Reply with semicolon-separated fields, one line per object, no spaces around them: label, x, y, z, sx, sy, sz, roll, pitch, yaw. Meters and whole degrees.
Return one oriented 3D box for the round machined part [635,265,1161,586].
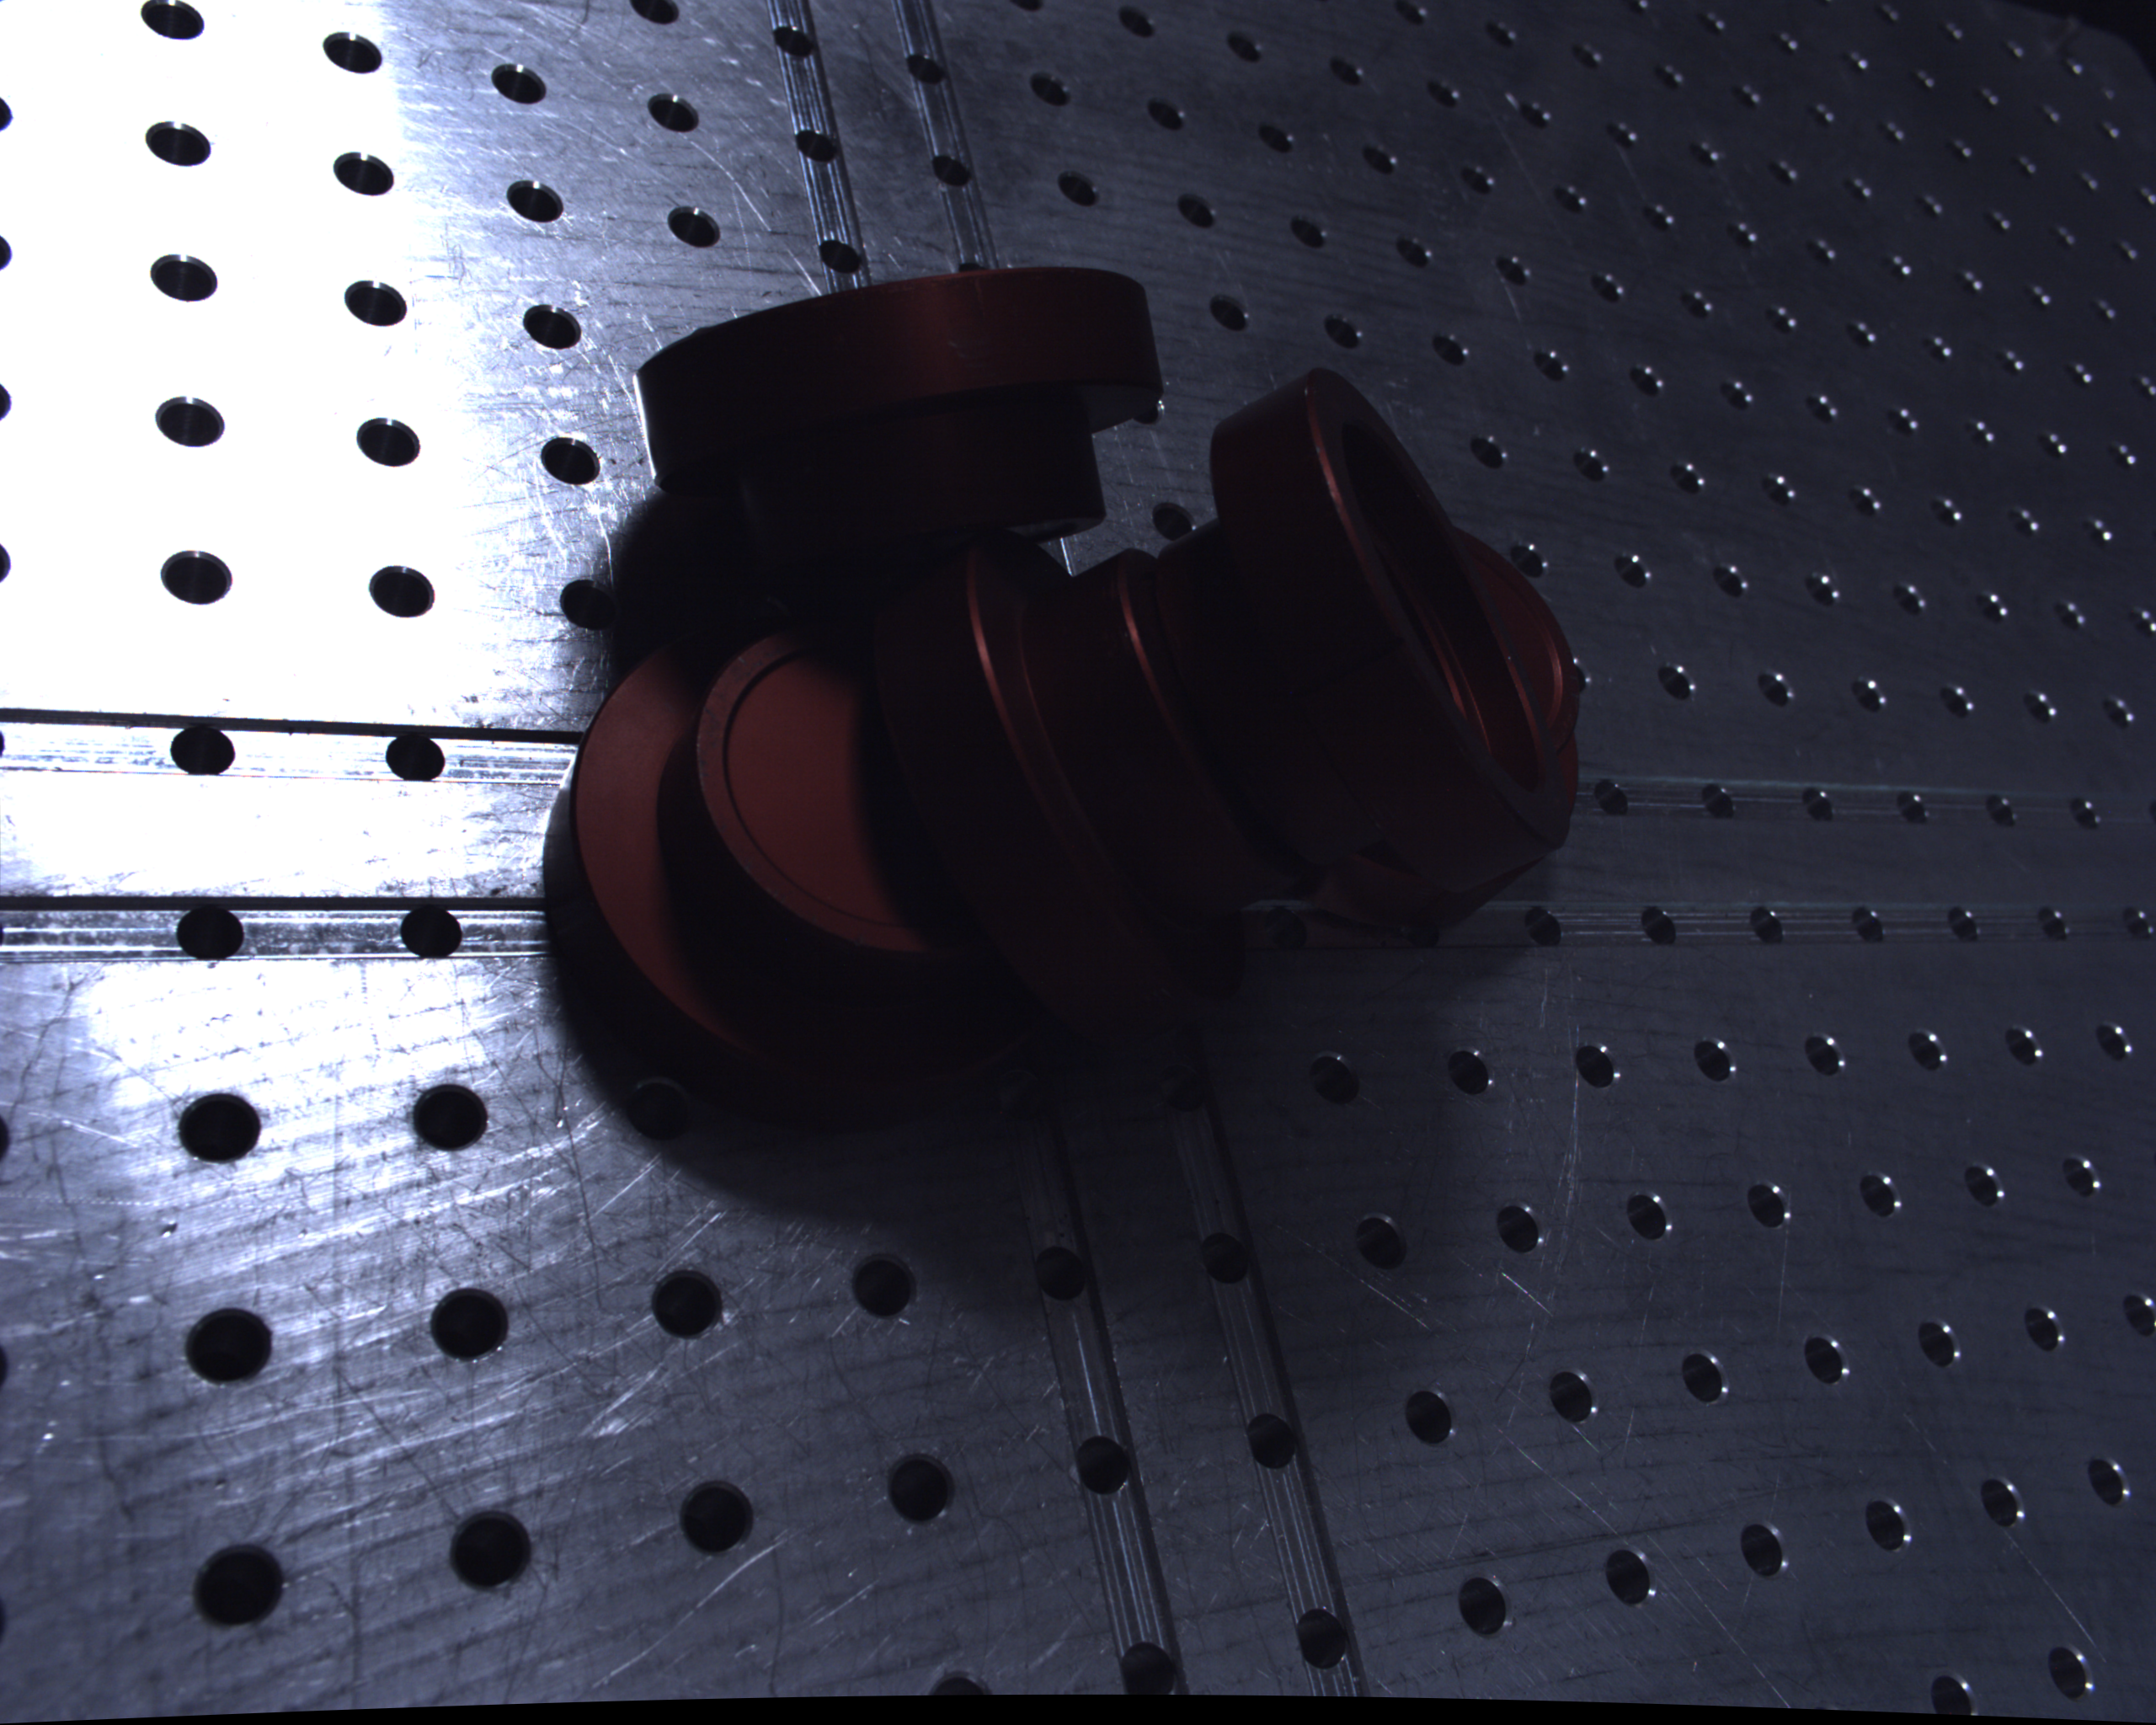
round machined part;-0.032;-0.080;0.401;0.099;0.098;0.042;-13;95;-34

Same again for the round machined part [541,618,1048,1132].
round machined part;-0.043;-0.004;0.378;0.099;0.042;0.098;14;56;-21

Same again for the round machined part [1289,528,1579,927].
round machined part;0.070;-0.038;0.460;0.099;0.042;0.098;14;56;-21

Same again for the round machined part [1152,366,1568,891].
round machined part;0.050;-0.039;0.388;0.098;0.042;0.098;47;27;-34

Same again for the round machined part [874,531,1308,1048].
round machined part;0.008;-0.018;0.384;0.098;0.042;0.098;53;21;-30
